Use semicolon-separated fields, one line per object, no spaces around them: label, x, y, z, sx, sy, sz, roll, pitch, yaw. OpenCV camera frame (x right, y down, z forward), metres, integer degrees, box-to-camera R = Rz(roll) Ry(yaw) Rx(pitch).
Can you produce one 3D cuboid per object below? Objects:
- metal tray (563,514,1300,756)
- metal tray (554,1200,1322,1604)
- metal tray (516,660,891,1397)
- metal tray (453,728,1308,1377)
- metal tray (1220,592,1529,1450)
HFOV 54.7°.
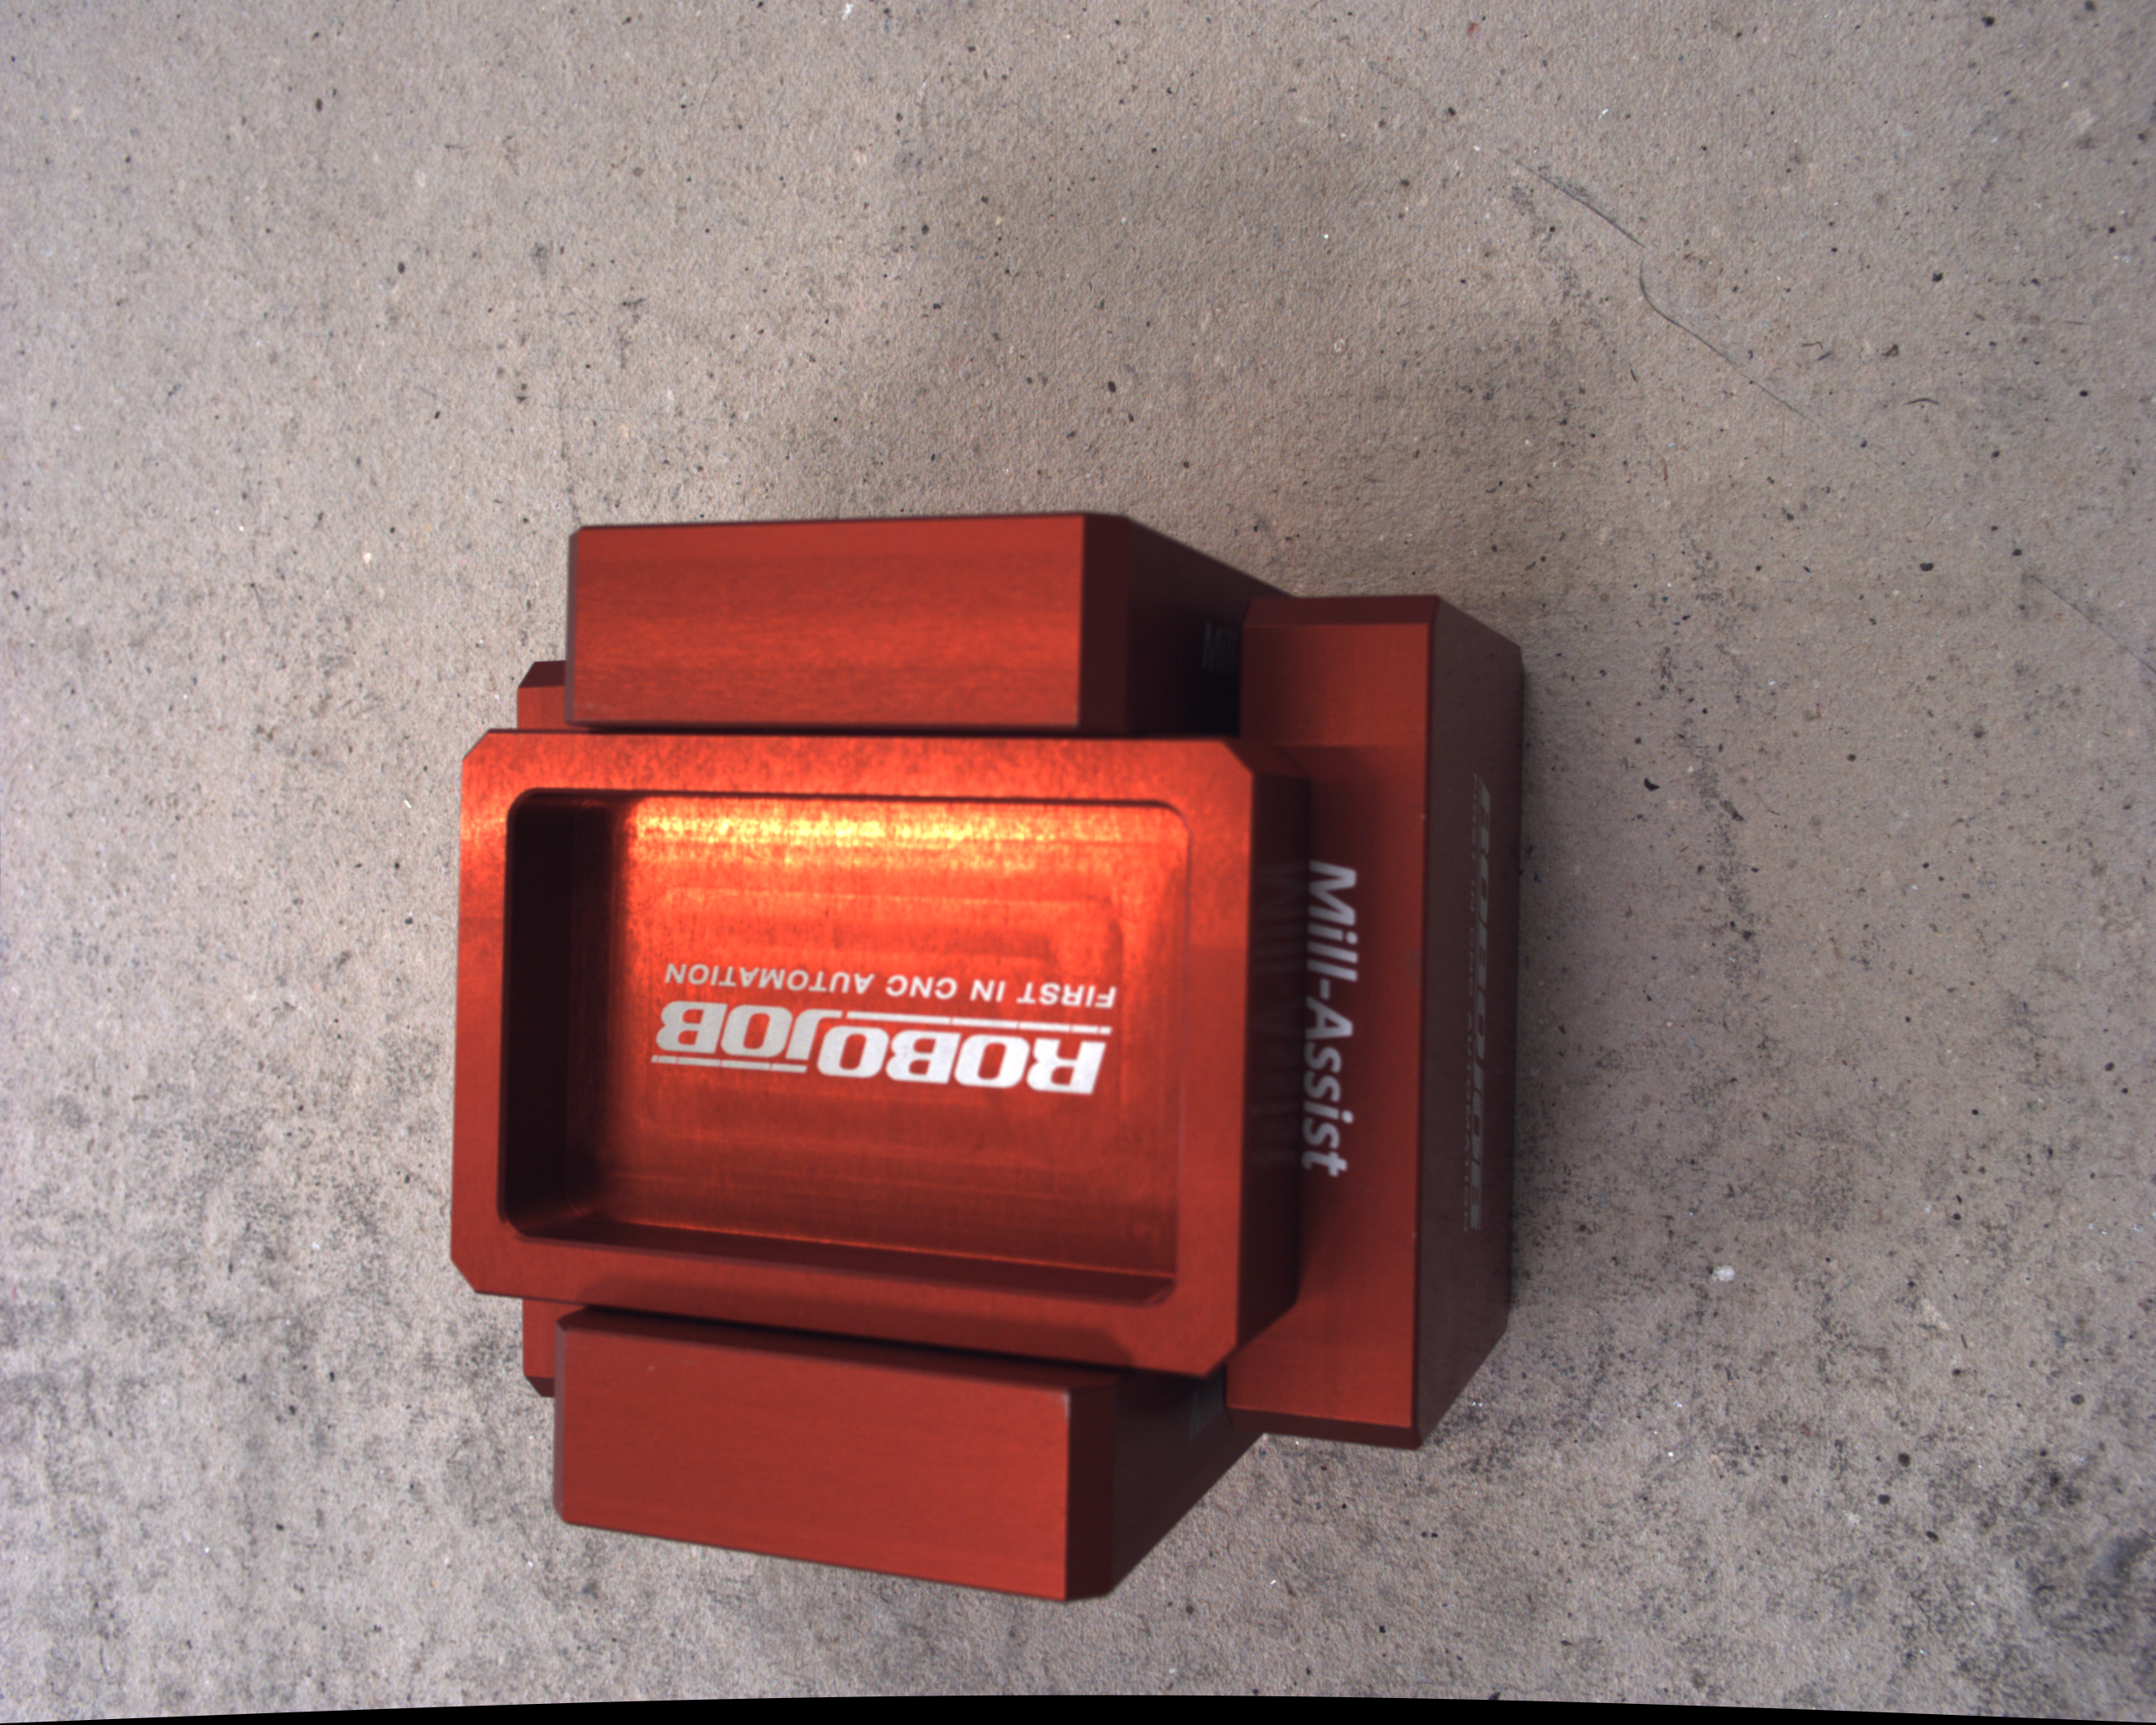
metal tray;-0.015;-0.034;0.359;0.090;0.130;0.030;2;91;20
metal tray;-0.016;0.085;0.360;0.090;0.130;0.030;2;91;20
metal tray;-0.068;0.029;0.399;0.030;0.090;0.129;-1;90;20
metal tray;-0.033;0.025;0.323;0.130;0.030;0.089;2;91;20
metal tray;0.053;0.024;0.356;0.030;0.090;0.129;2;89;21
